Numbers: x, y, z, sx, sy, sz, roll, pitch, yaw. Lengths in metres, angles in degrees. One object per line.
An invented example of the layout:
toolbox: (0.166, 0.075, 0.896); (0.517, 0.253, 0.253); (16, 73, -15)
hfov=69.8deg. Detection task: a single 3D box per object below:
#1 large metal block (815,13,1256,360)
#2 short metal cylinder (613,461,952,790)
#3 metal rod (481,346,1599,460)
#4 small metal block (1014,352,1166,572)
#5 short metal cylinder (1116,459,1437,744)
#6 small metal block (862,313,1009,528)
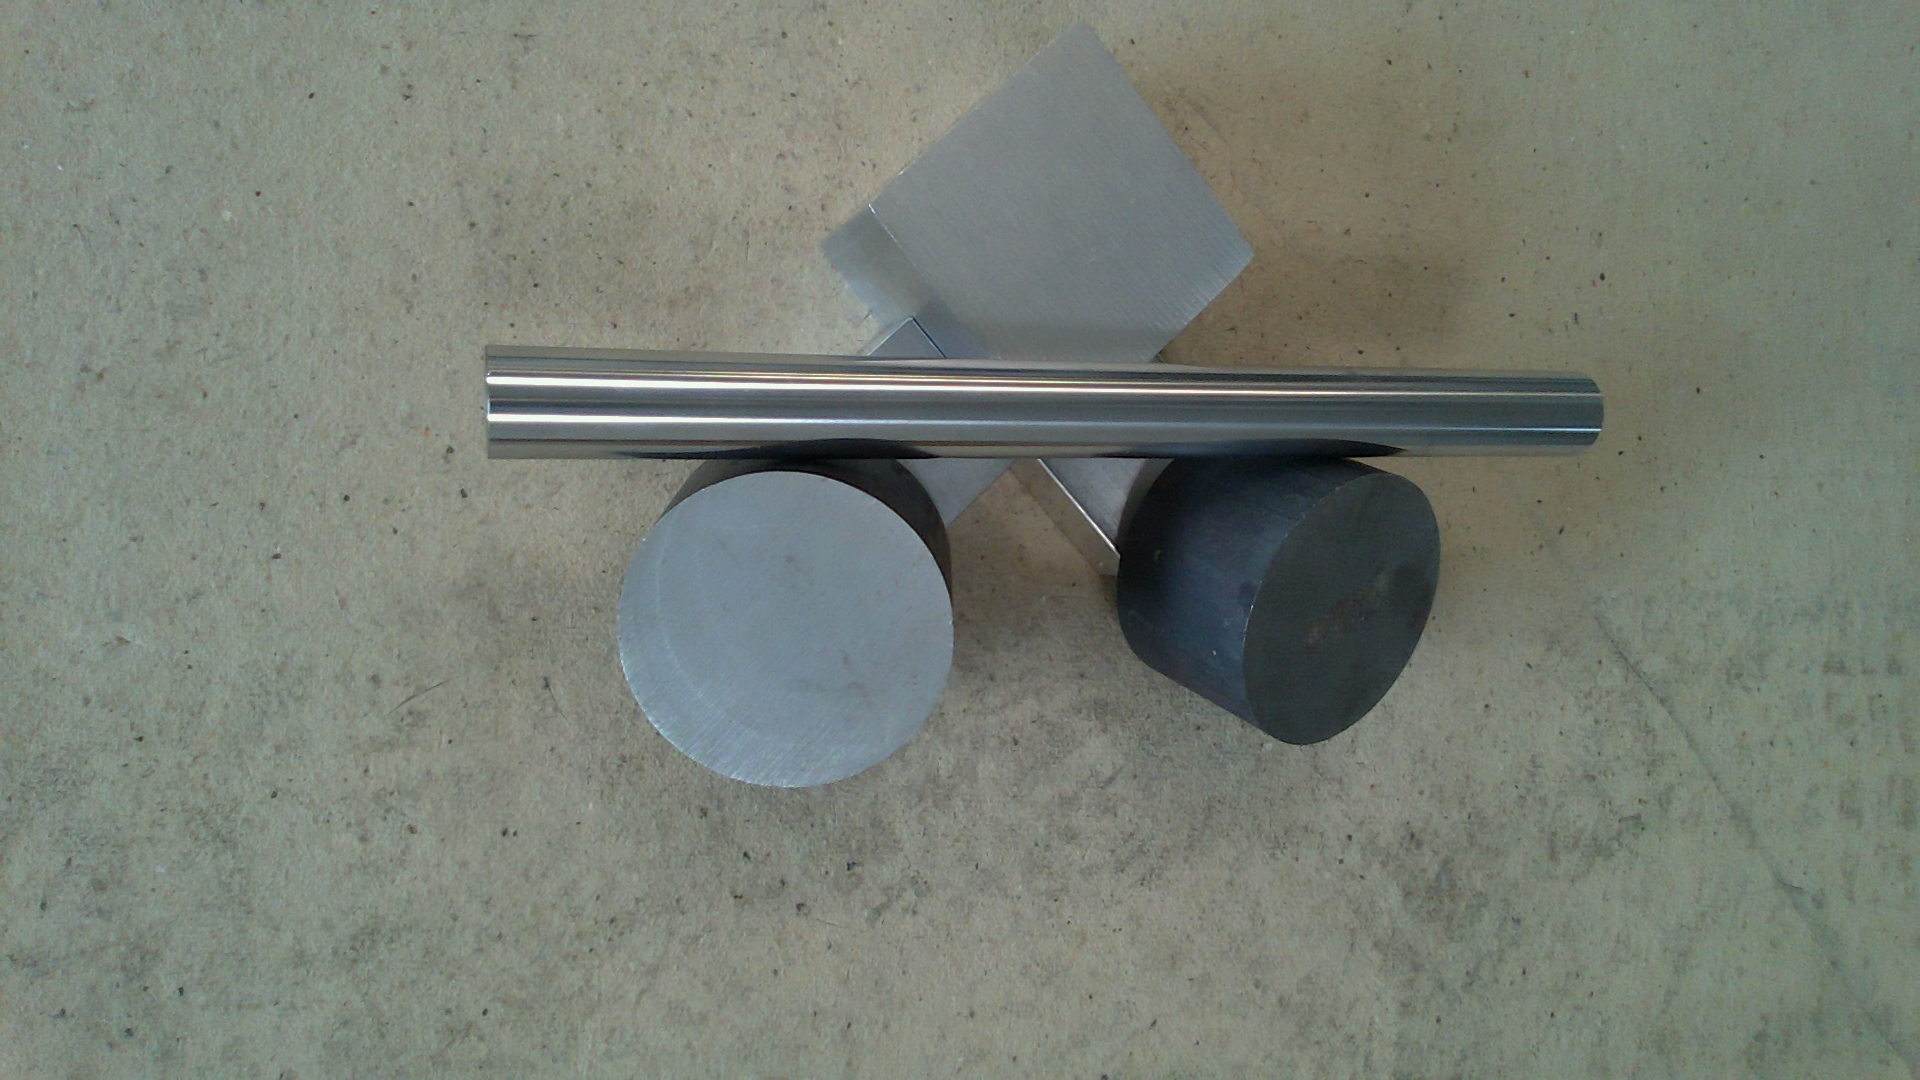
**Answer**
large metal block: (0.021, -0.083, 0.385); (0.080, 0.050, 0.080); (-44, 104, -15)
short metal cylinder: (-0.042, 0.016, 0.350); (0.080, 0.050, 0.080); (0, 107, -1)
metal rod: (0.037, -0.034, 0.352); (0.301, 0.025, 0.025); (-1, 91, -20)
small metal block: (0.049, -0.025, 0.411); (0.050, 0.025, 0.050); (-45, 104, -14)
short metal cylinder: (0.092, 0.012, 0.399); (0.080, 0.050, 0.080); (-16, 117, -33)
small metal block: (-0.019, -0.026, 0.387); (0.050, 0.025, 0.050); (-45, 104, -15)
